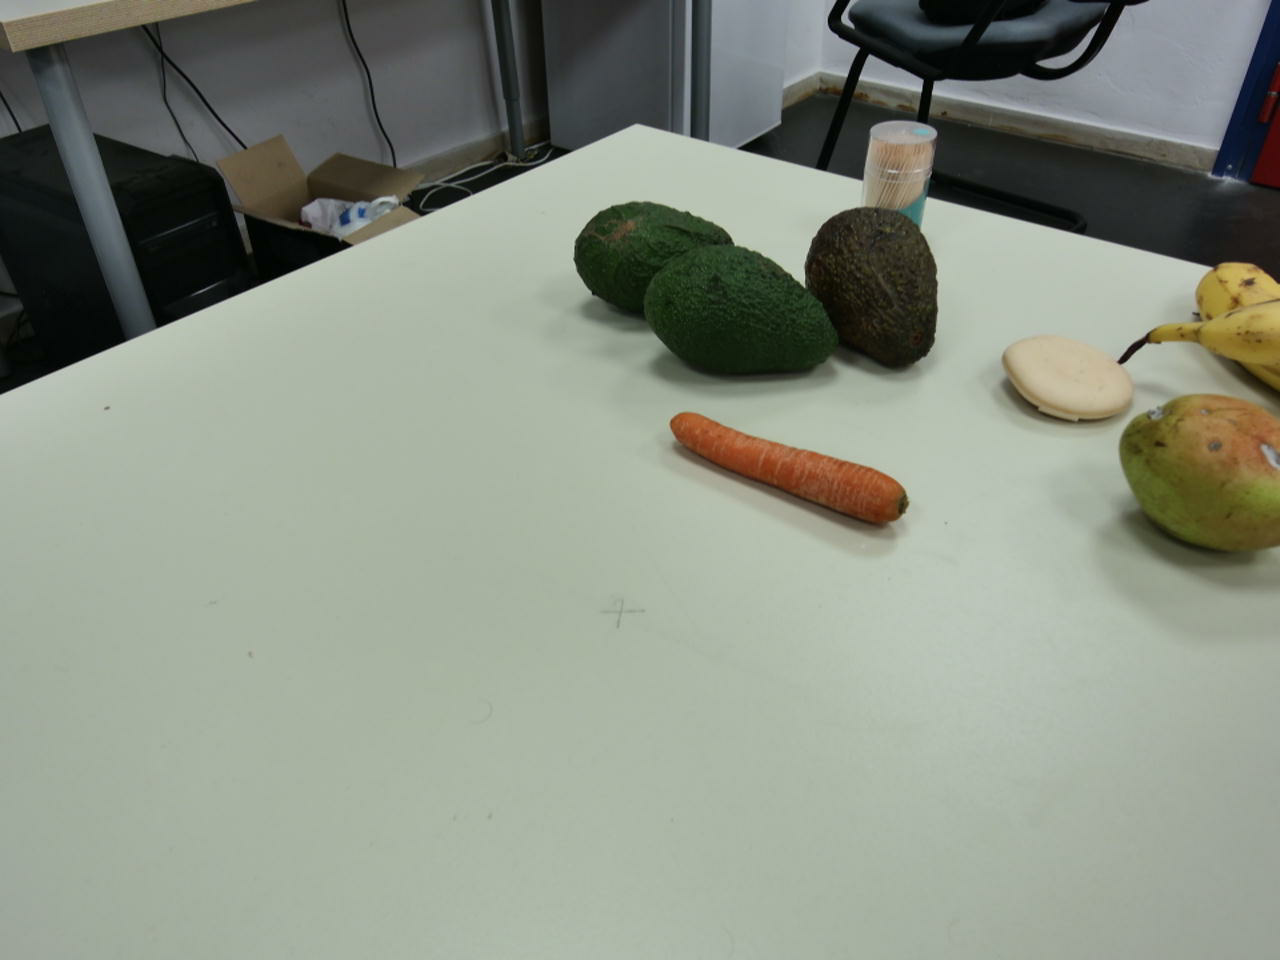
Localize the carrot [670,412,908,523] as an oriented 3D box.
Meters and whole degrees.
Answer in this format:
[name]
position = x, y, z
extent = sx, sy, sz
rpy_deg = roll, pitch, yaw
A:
[carrot]
position = 0.065, -0.008, 0.458
extent = 0.122, 0.023, 0.024
rpy_deg = 24, 42, 29
